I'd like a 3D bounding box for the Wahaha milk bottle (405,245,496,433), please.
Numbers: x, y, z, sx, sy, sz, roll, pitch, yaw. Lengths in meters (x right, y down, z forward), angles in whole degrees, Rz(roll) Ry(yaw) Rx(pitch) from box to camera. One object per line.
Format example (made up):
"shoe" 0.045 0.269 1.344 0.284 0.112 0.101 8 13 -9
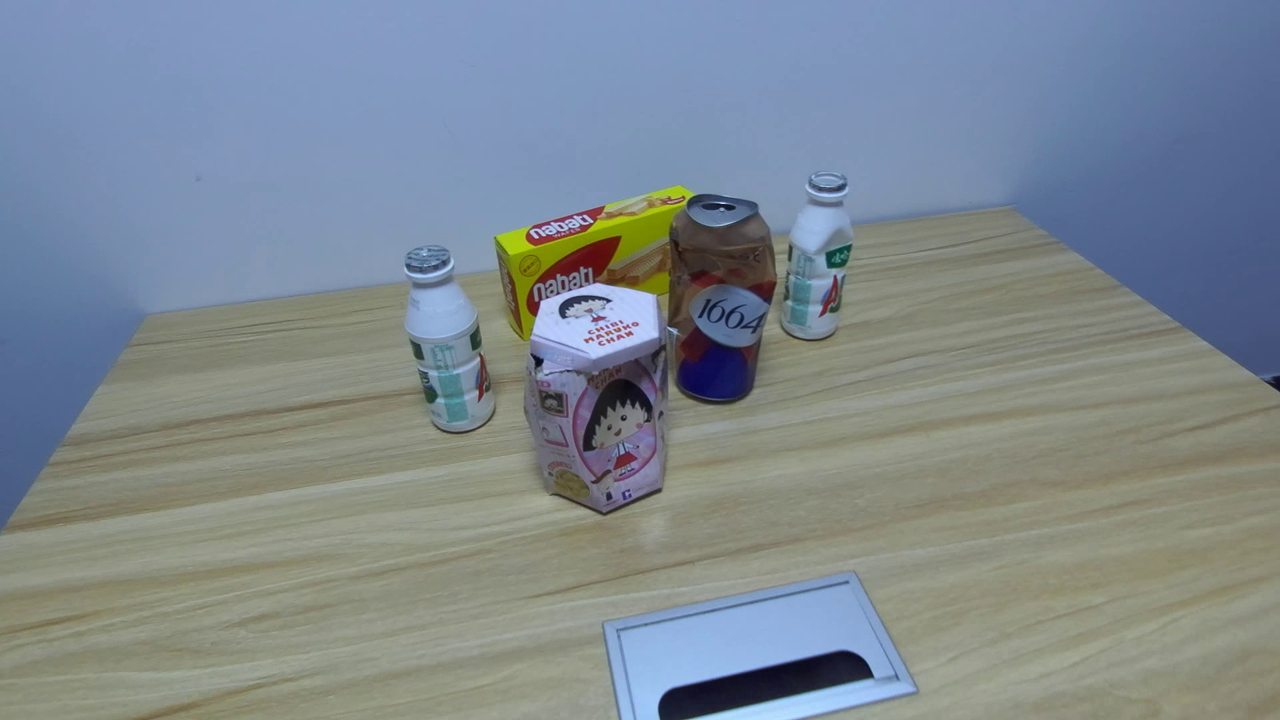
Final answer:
"Wahaha milk bottle" -0.146 -0.014 0.536 0.053 0.147 0.053 -3 35 2

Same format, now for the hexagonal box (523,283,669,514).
"hexagonal box" -0.028 0.027 0.484 0.091 0.135 0.090 4 34 10

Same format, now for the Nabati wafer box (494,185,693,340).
"Nabati wafer box" -0.030 -0.092 0.679 0.203 0.093 0.042 -20 36 -21

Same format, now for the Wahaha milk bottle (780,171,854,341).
"Wahaha milk bottle" 0.154 -0.087 0.610 0.056 0.148 0.056 0 37 0

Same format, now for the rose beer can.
"rose beer can" 0.060 -0.044 0.548 0.074 0.162 0.068 -7 35 -9
